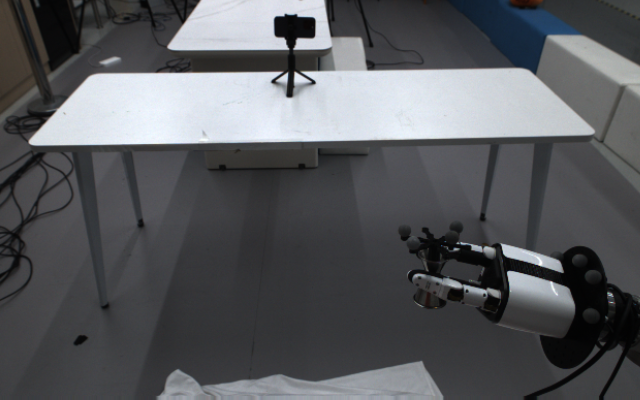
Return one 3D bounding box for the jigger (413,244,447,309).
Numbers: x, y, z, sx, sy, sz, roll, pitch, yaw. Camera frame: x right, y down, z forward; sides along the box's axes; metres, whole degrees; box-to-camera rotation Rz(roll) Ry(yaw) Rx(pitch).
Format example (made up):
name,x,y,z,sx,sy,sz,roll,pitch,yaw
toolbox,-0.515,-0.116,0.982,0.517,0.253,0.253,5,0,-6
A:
name,x,y,z,sx,sy,sz,roll,pitch,yaw
jigger,0.145,0.101,0.634,0.043,0.071,0.043,0,21,0
